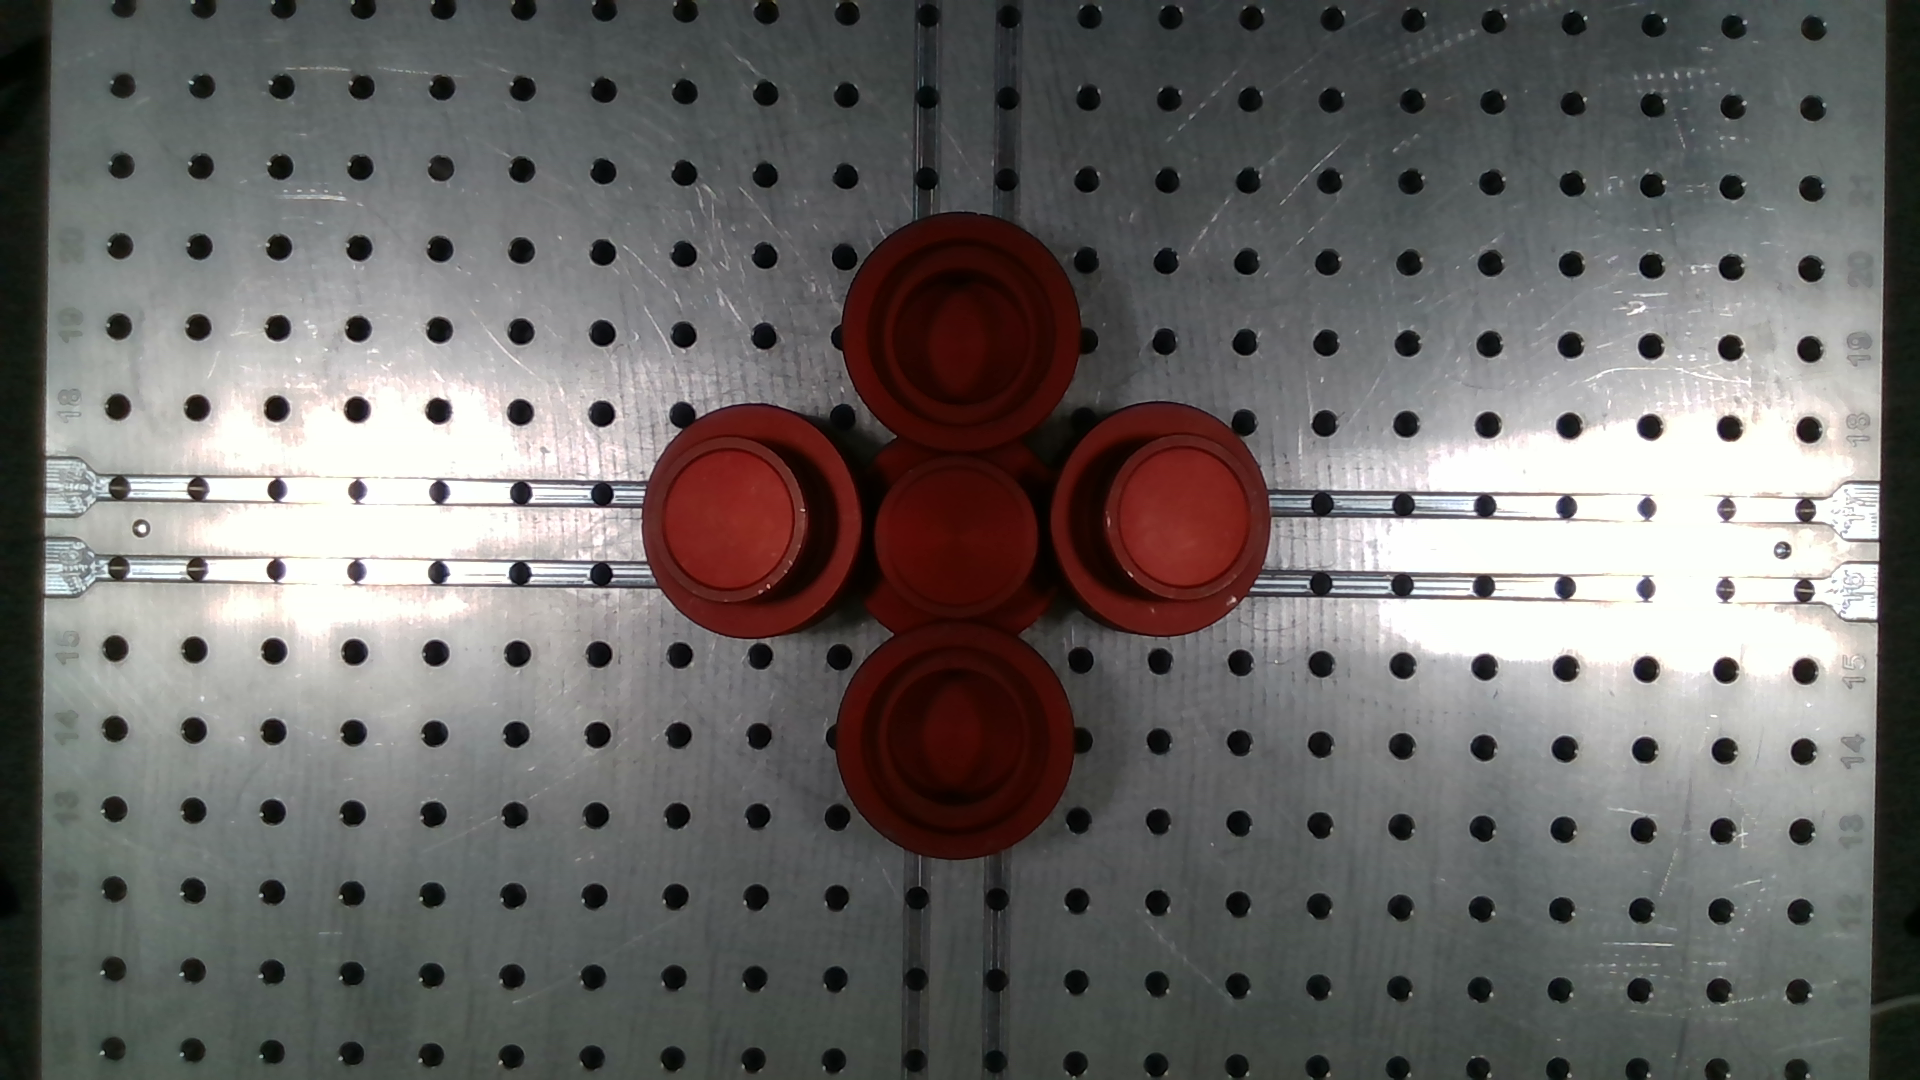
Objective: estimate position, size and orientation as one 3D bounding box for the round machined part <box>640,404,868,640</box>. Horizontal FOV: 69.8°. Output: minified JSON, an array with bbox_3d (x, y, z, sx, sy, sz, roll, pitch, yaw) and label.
[{"bbox_3d":[-0.088,-0.007,0.569,0.098,0.042,0.098,0,90,15],"label":"round machined part"}]

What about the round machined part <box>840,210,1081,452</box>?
[{"bbox_3d":[0.000,-0.085,0.580,0.098,0.042,0.098,0,90,0],"label":"round machined part"}]

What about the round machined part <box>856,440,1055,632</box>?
[{"bbox_3d":[-0.002,-0.002,0.580,0.098,0.042,0.098,0,90,0],"label":"round machined part"}]

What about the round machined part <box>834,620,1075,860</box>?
[{"bbox_3d":[-0.002,0.082,0.581,0.098,0.042,0.098,0,90,0],"label":"round machined part"}]

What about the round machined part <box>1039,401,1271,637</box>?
[{"bbox_3d":[0.085,-0.009,0.569,0.098,0.042,0.098,0,89,-15],"label":"round machined part"}]
